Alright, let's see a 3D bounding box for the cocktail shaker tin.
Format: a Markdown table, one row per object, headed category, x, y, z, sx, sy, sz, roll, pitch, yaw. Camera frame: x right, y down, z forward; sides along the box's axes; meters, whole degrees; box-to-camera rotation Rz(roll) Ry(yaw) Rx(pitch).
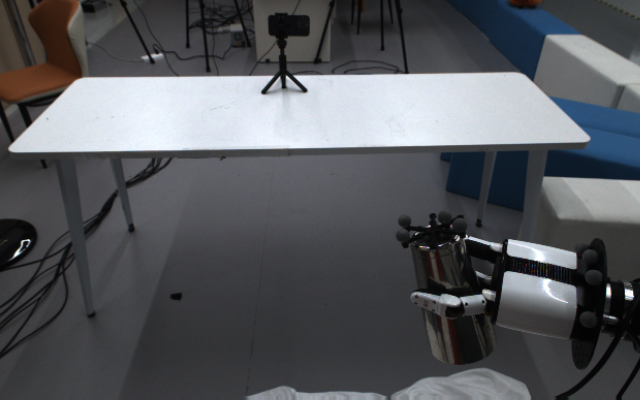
| category | x | y | z | sx | sy | sz | roll | pitch | yaw |
| --- | --- | --- | --- | --- | --- | --- | --- | --- | --- |
| cocktail shaker tin | 0.172 | 0.120 | 0.640 | 0.093 | 0.170 | 0.093 | -17 | 20 | 6 |
